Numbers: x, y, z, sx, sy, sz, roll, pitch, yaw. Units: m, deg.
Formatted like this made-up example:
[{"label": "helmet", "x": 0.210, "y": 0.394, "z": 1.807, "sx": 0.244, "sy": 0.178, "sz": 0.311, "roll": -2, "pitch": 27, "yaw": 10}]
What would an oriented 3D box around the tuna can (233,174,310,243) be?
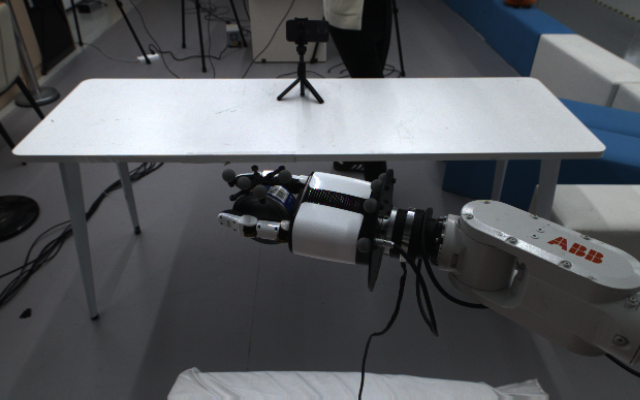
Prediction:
[{"label": "tuna can", "x": -0.069, "y": 0.016, "z": 0.649, "sx": 0.085, "sy": 0.085, "sz": 0.034, "roll": 11, "pitch": 39, "yaw": 13}]
